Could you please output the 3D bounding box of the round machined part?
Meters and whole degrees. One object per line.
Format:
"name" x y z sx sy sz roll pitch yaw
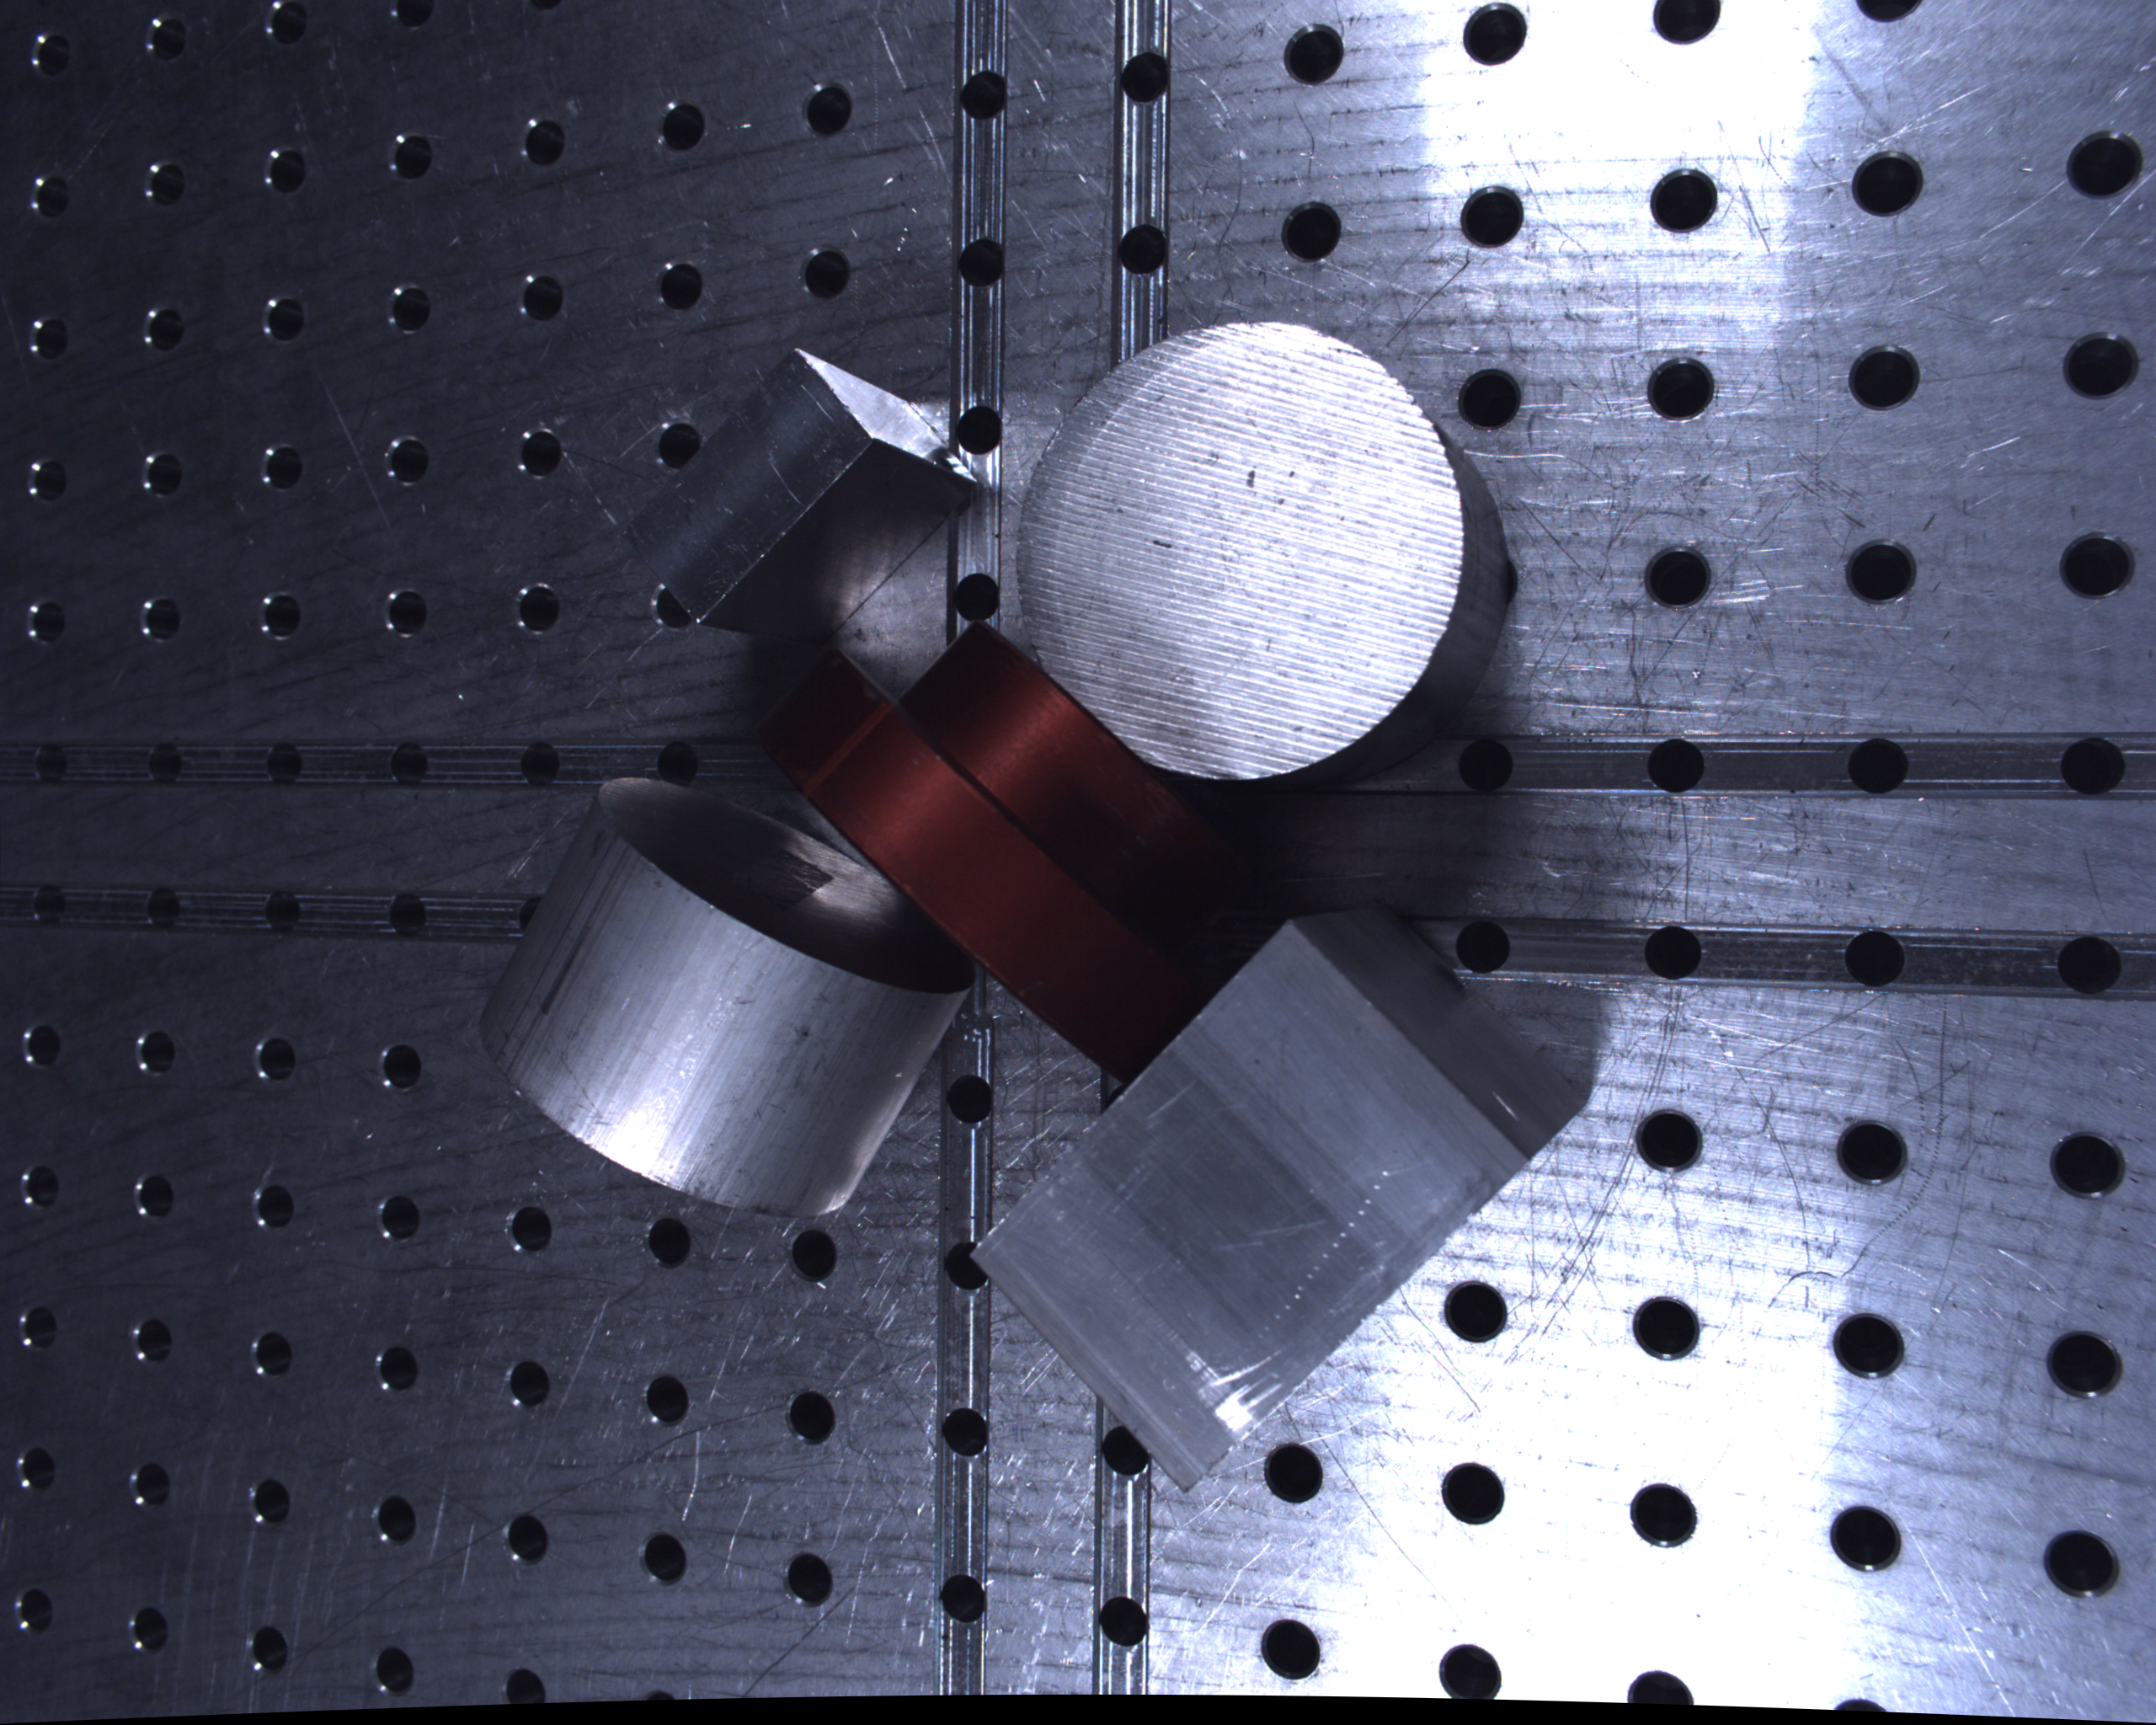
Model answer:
"round machined part" -0.008 -0.006 0.376 0.098 0.098 0.042 43 91 14

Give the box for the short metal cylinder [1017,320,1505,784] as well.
"short metal cylinder" 0.035 -0.054 0.386 0.080 0.050 0.079 0 90 19

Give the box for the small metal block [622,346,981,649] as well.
"small metal block" -0.054 -0.071 0.417 0.050 0.050 0.025 -44 77 14

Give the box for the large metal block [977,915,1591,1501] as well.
"large metal block" 0.040 0.056 0.369 0.050 0.080 0.080 45 104 14

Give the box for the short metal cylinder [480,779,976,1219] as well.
"short metal cylinder" -0.067 0.025 0.405 0.080 0.080 0.050 33 101 16
